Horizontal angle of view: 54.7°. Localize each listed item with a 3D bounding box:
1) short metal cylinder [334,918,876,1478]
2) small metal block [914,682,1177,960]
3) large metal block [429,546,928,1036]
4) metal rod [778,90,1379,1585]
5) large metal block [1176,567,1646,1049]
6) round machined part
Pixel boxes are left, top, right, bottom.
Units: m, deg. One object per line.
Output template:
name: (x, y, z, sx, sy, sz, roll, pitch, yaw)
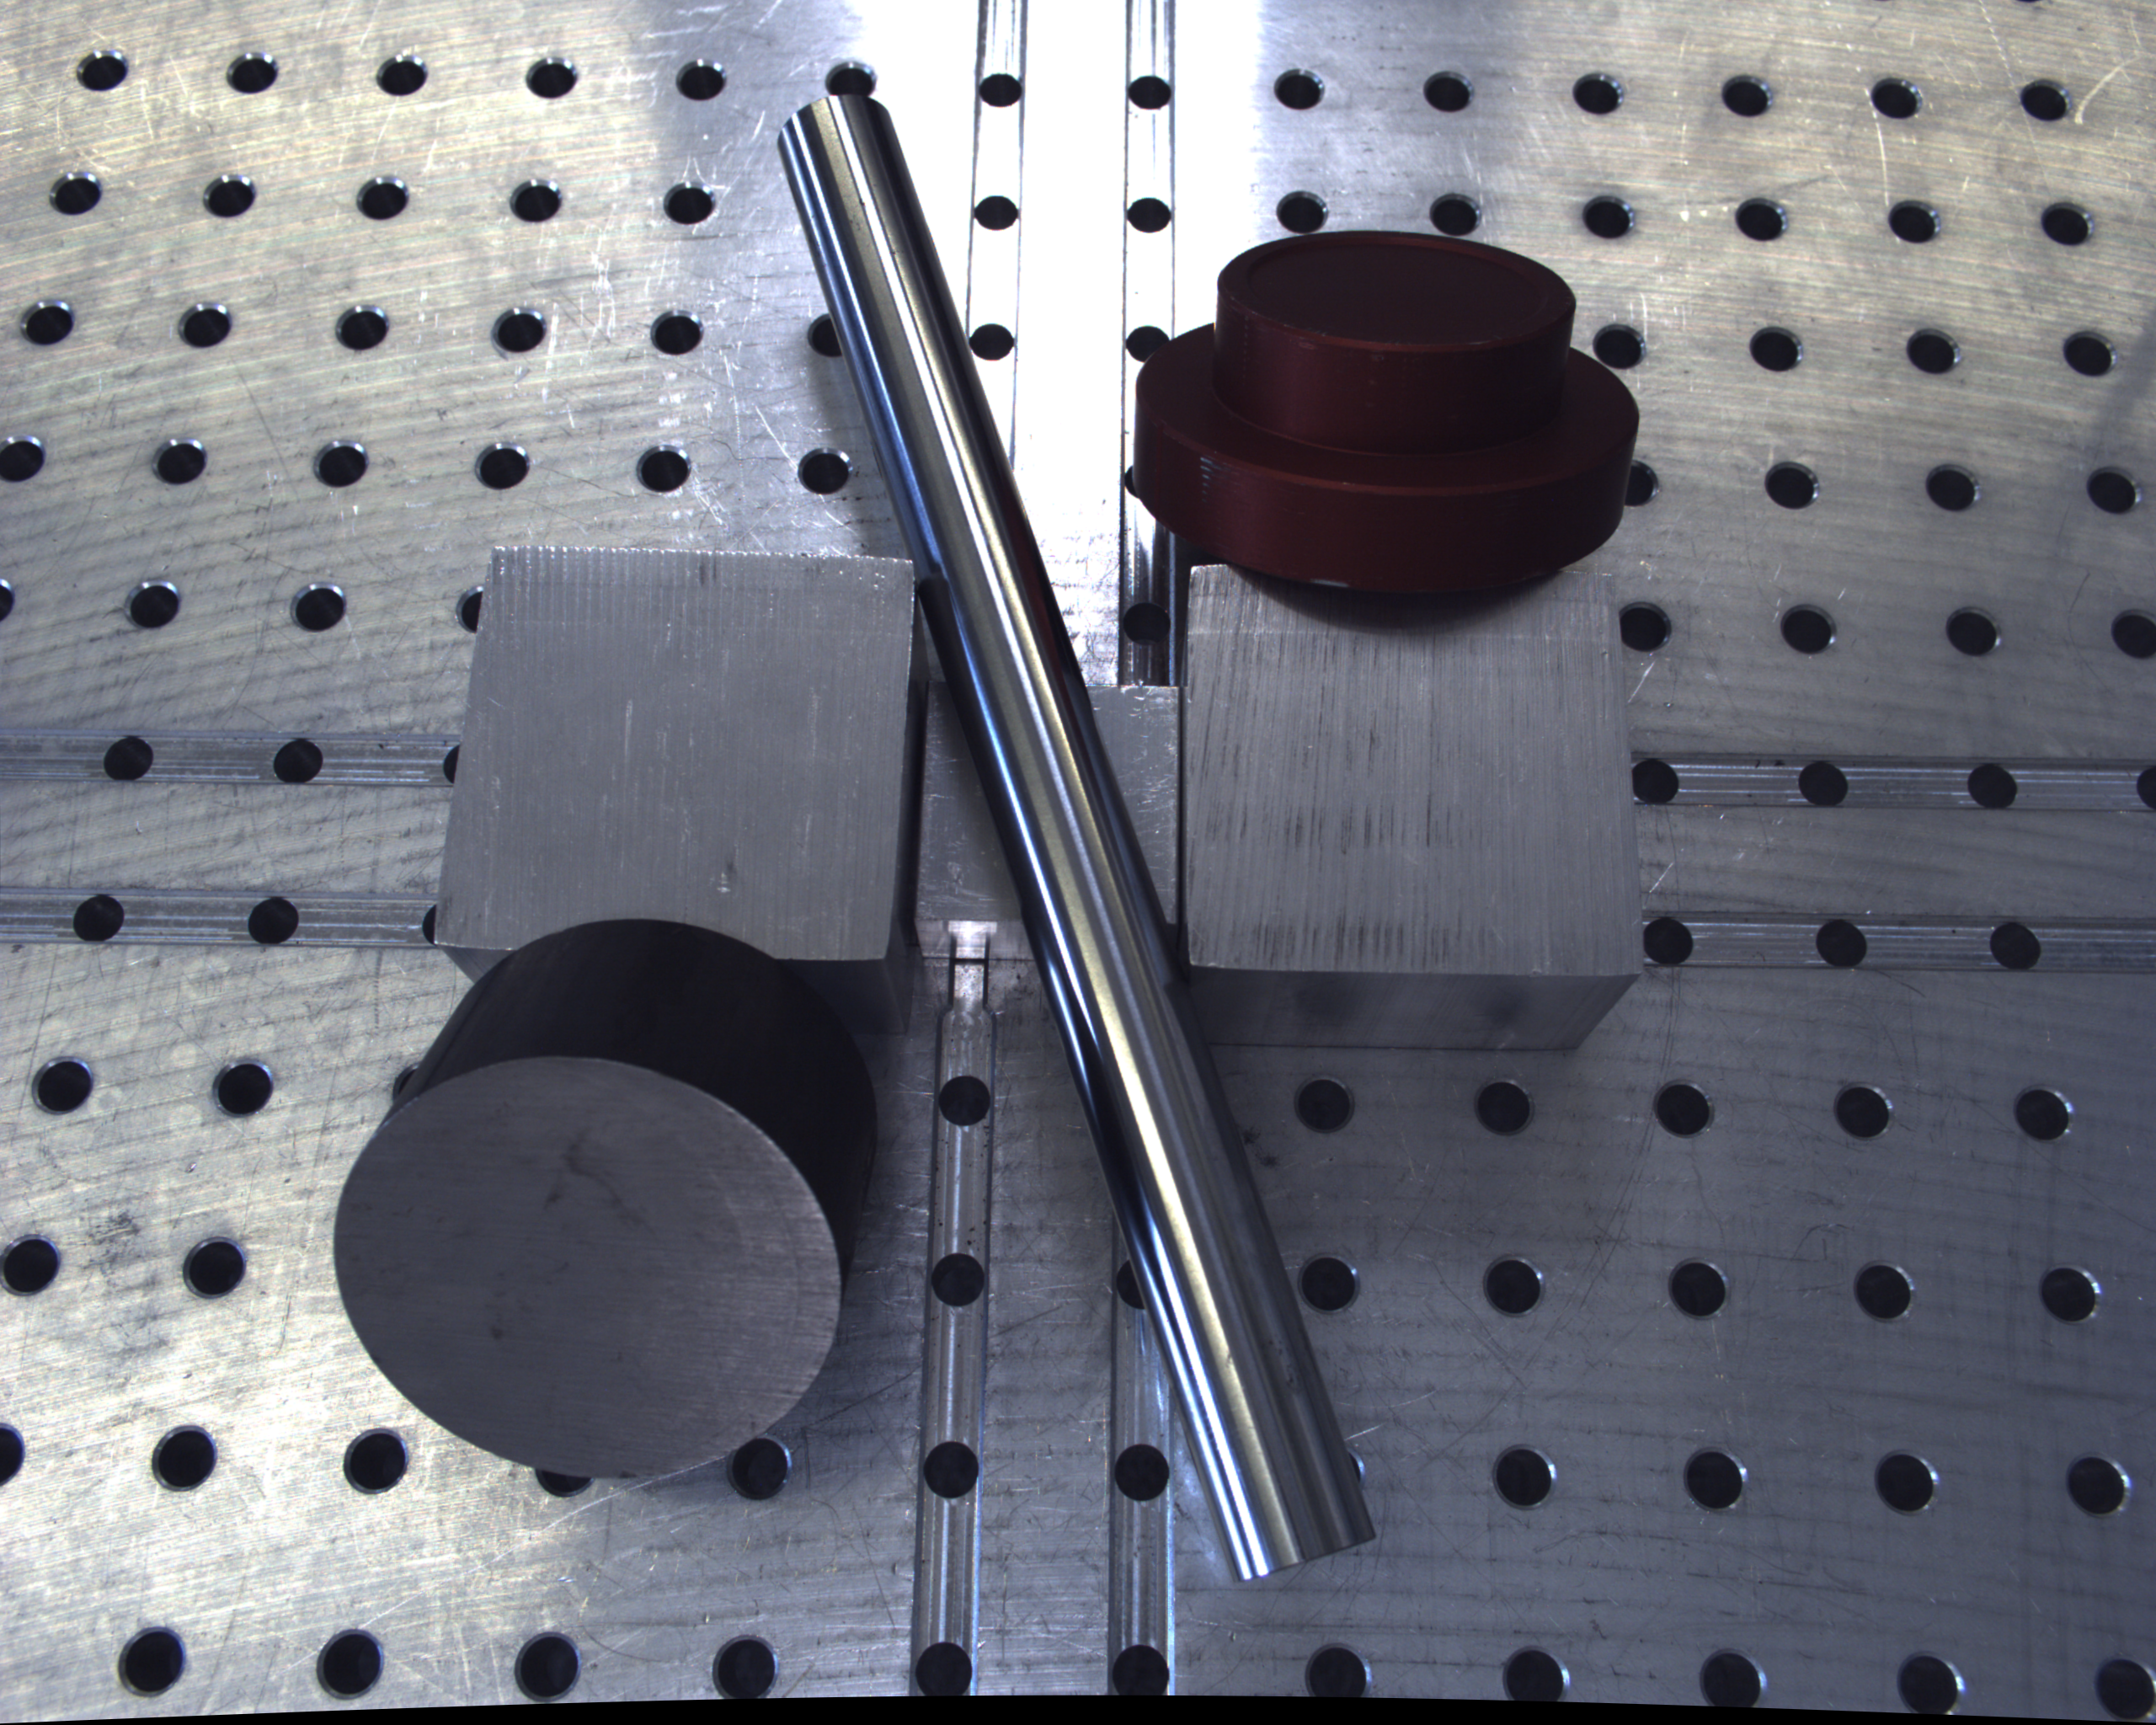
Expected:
short metal cylinder: (-0.077, 0.056, 0.355, 0.080, 0.050, 0.079, 0, 113, 1)
small metal block: (-0.006, -0.008, 0.415, 0.050, 0.025, 0.050, 1, 70, 0)
large metal block: (-0.072, -0.013, 0.403, 0.081, 0.050, 0.080, 2, 70, 0)
metal rod: (-0.007, -0.020, 0.391, 0.025, 0.025, 0.299, -16, 71, -6)
large metal block: (0.060, -0.009, 0.403, 0.081, 0.050, 0.080, 1, 70, 0)
round machined part: (0.061, -0.094, 0.411, 0.099, 0.042, 0.098, 1, 35, 0)
